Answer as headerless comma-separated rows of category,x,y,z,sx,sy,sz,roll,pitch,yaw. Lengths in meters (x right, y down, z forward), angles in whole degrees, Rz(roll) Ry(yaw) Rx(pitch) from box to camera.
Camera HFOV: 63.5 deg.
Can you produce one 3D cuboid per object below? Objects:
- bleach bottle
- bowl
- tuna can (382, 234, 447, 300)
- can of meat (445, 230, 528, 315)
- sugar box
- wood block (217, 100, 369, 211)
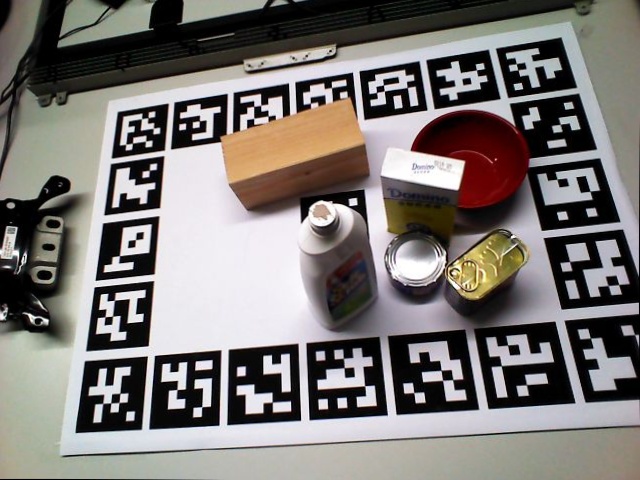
bleach bottle,0.011,0.029,0.612,0.102,0.251,0.068,-30,63,-2
bowl,0.220,-0.109,0.735,0.162,0.055,0.161,-6,65,13
tuna can,0.128,0.037,0.700,0.086,0.034,0.085,-4,69,11
can of meat,0.210,0.043,0.659,0.102,0.084,0.058,-34,61,-6
sugar box,0.134,-0.050,0.657,0.093,0.176,0.045,12,71,20
wood block,-0.039,-0.125,0.782,0.207,0.090,0.090,-15,69,4
